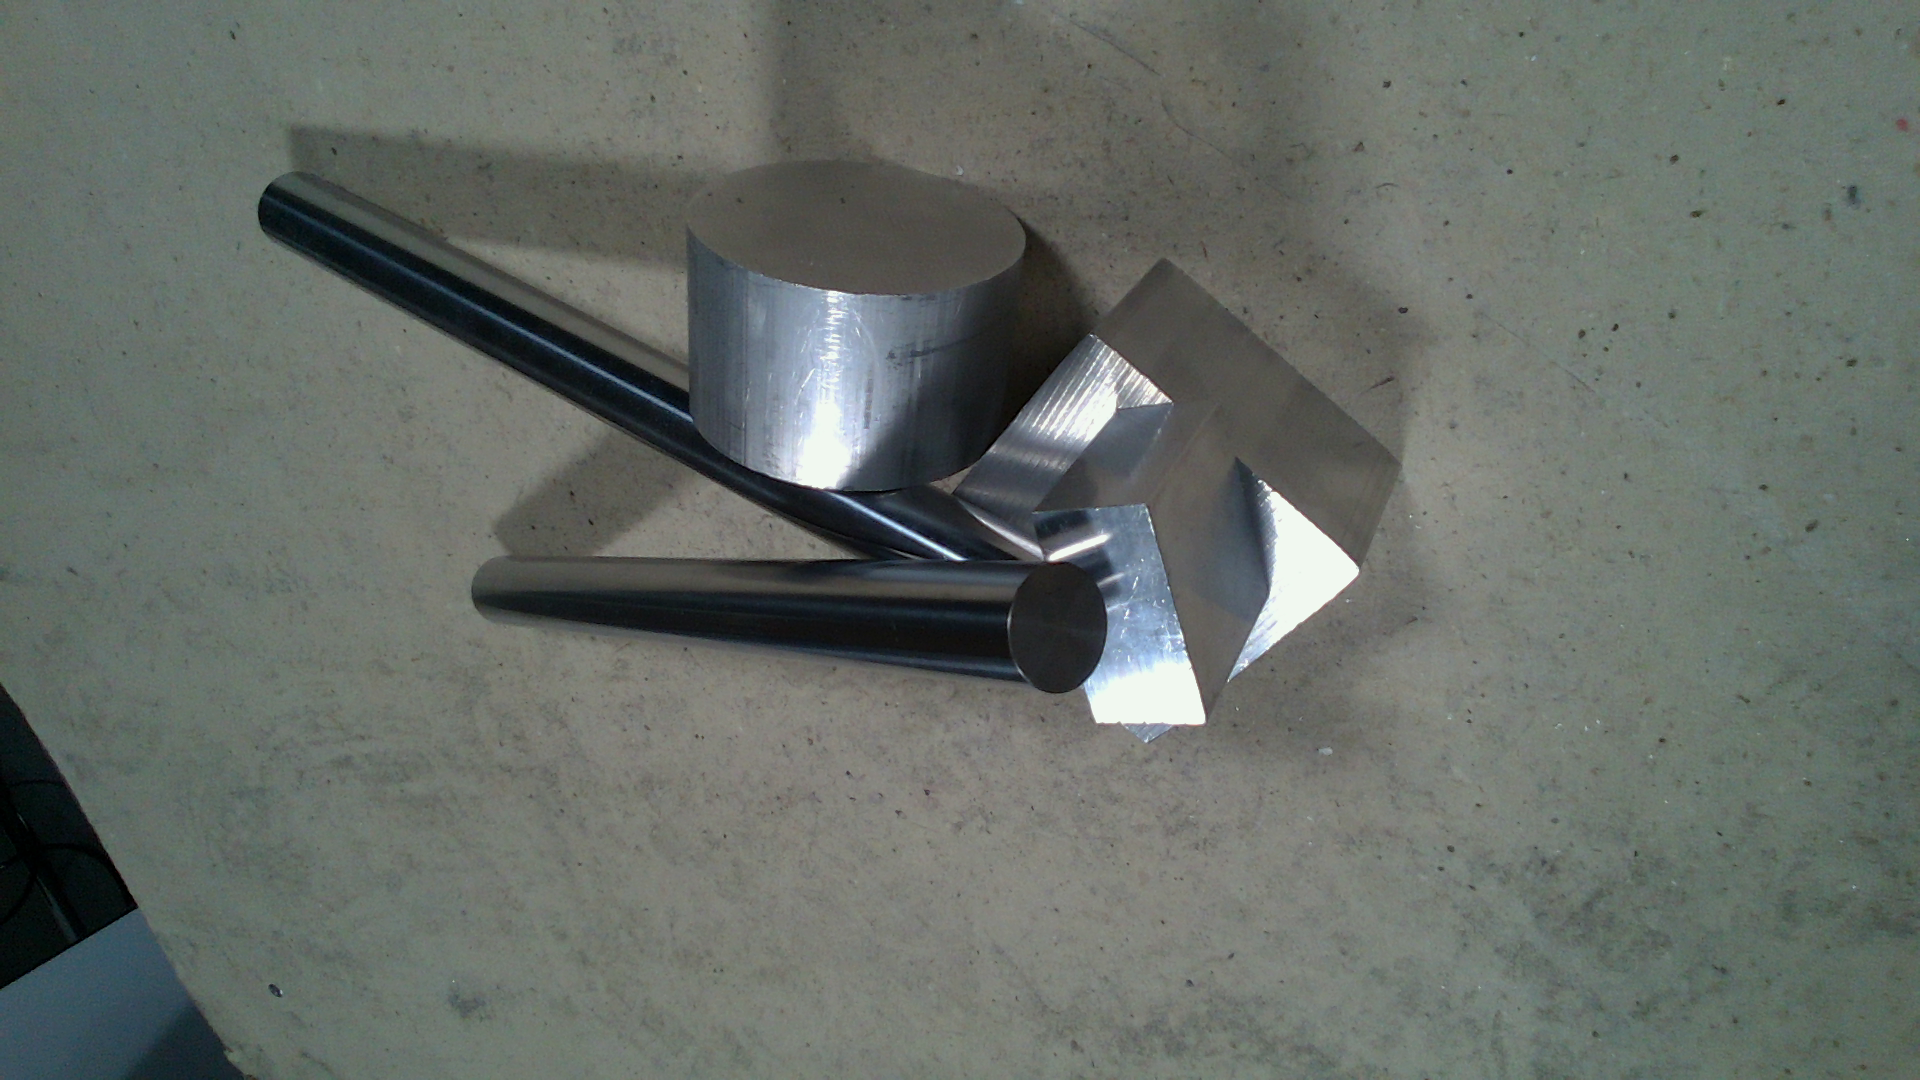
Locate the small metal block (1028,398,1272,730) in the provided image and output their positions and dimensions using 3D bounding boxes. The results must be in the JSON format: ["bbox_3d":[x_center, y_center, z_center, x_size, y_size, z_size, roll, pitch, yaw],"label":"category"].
[{"bbox_3d":[0.042,0.004,0.289,0.025,0.050,0.050,-4,117,31],"label":"small metal block"}]

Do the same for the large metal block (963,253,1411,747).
[{"bbox_3d":[0.049,-0.009,0.343,0.080,0.050,0.080,42,130,0],"label":"large metal block"}]

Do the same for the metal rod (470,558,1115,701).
[{"bbox_3d":[-0.071,0.018,0.373,0.299,0.025,0.025,0,121,52],"label":"metal rod"}]

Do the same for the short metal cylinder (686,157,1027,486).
[{"bbox_3d":[-0.026,-0.056,0.339,0.080,0.080,0.050,19,126,17],"label":"short metal cylinder"}]

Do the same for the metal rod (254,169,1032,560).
[{"bbox_3d":[-0.096,-0.047,0.379,0.299,0.025,0.025,27,129,26],"label":"metal rod"}]
